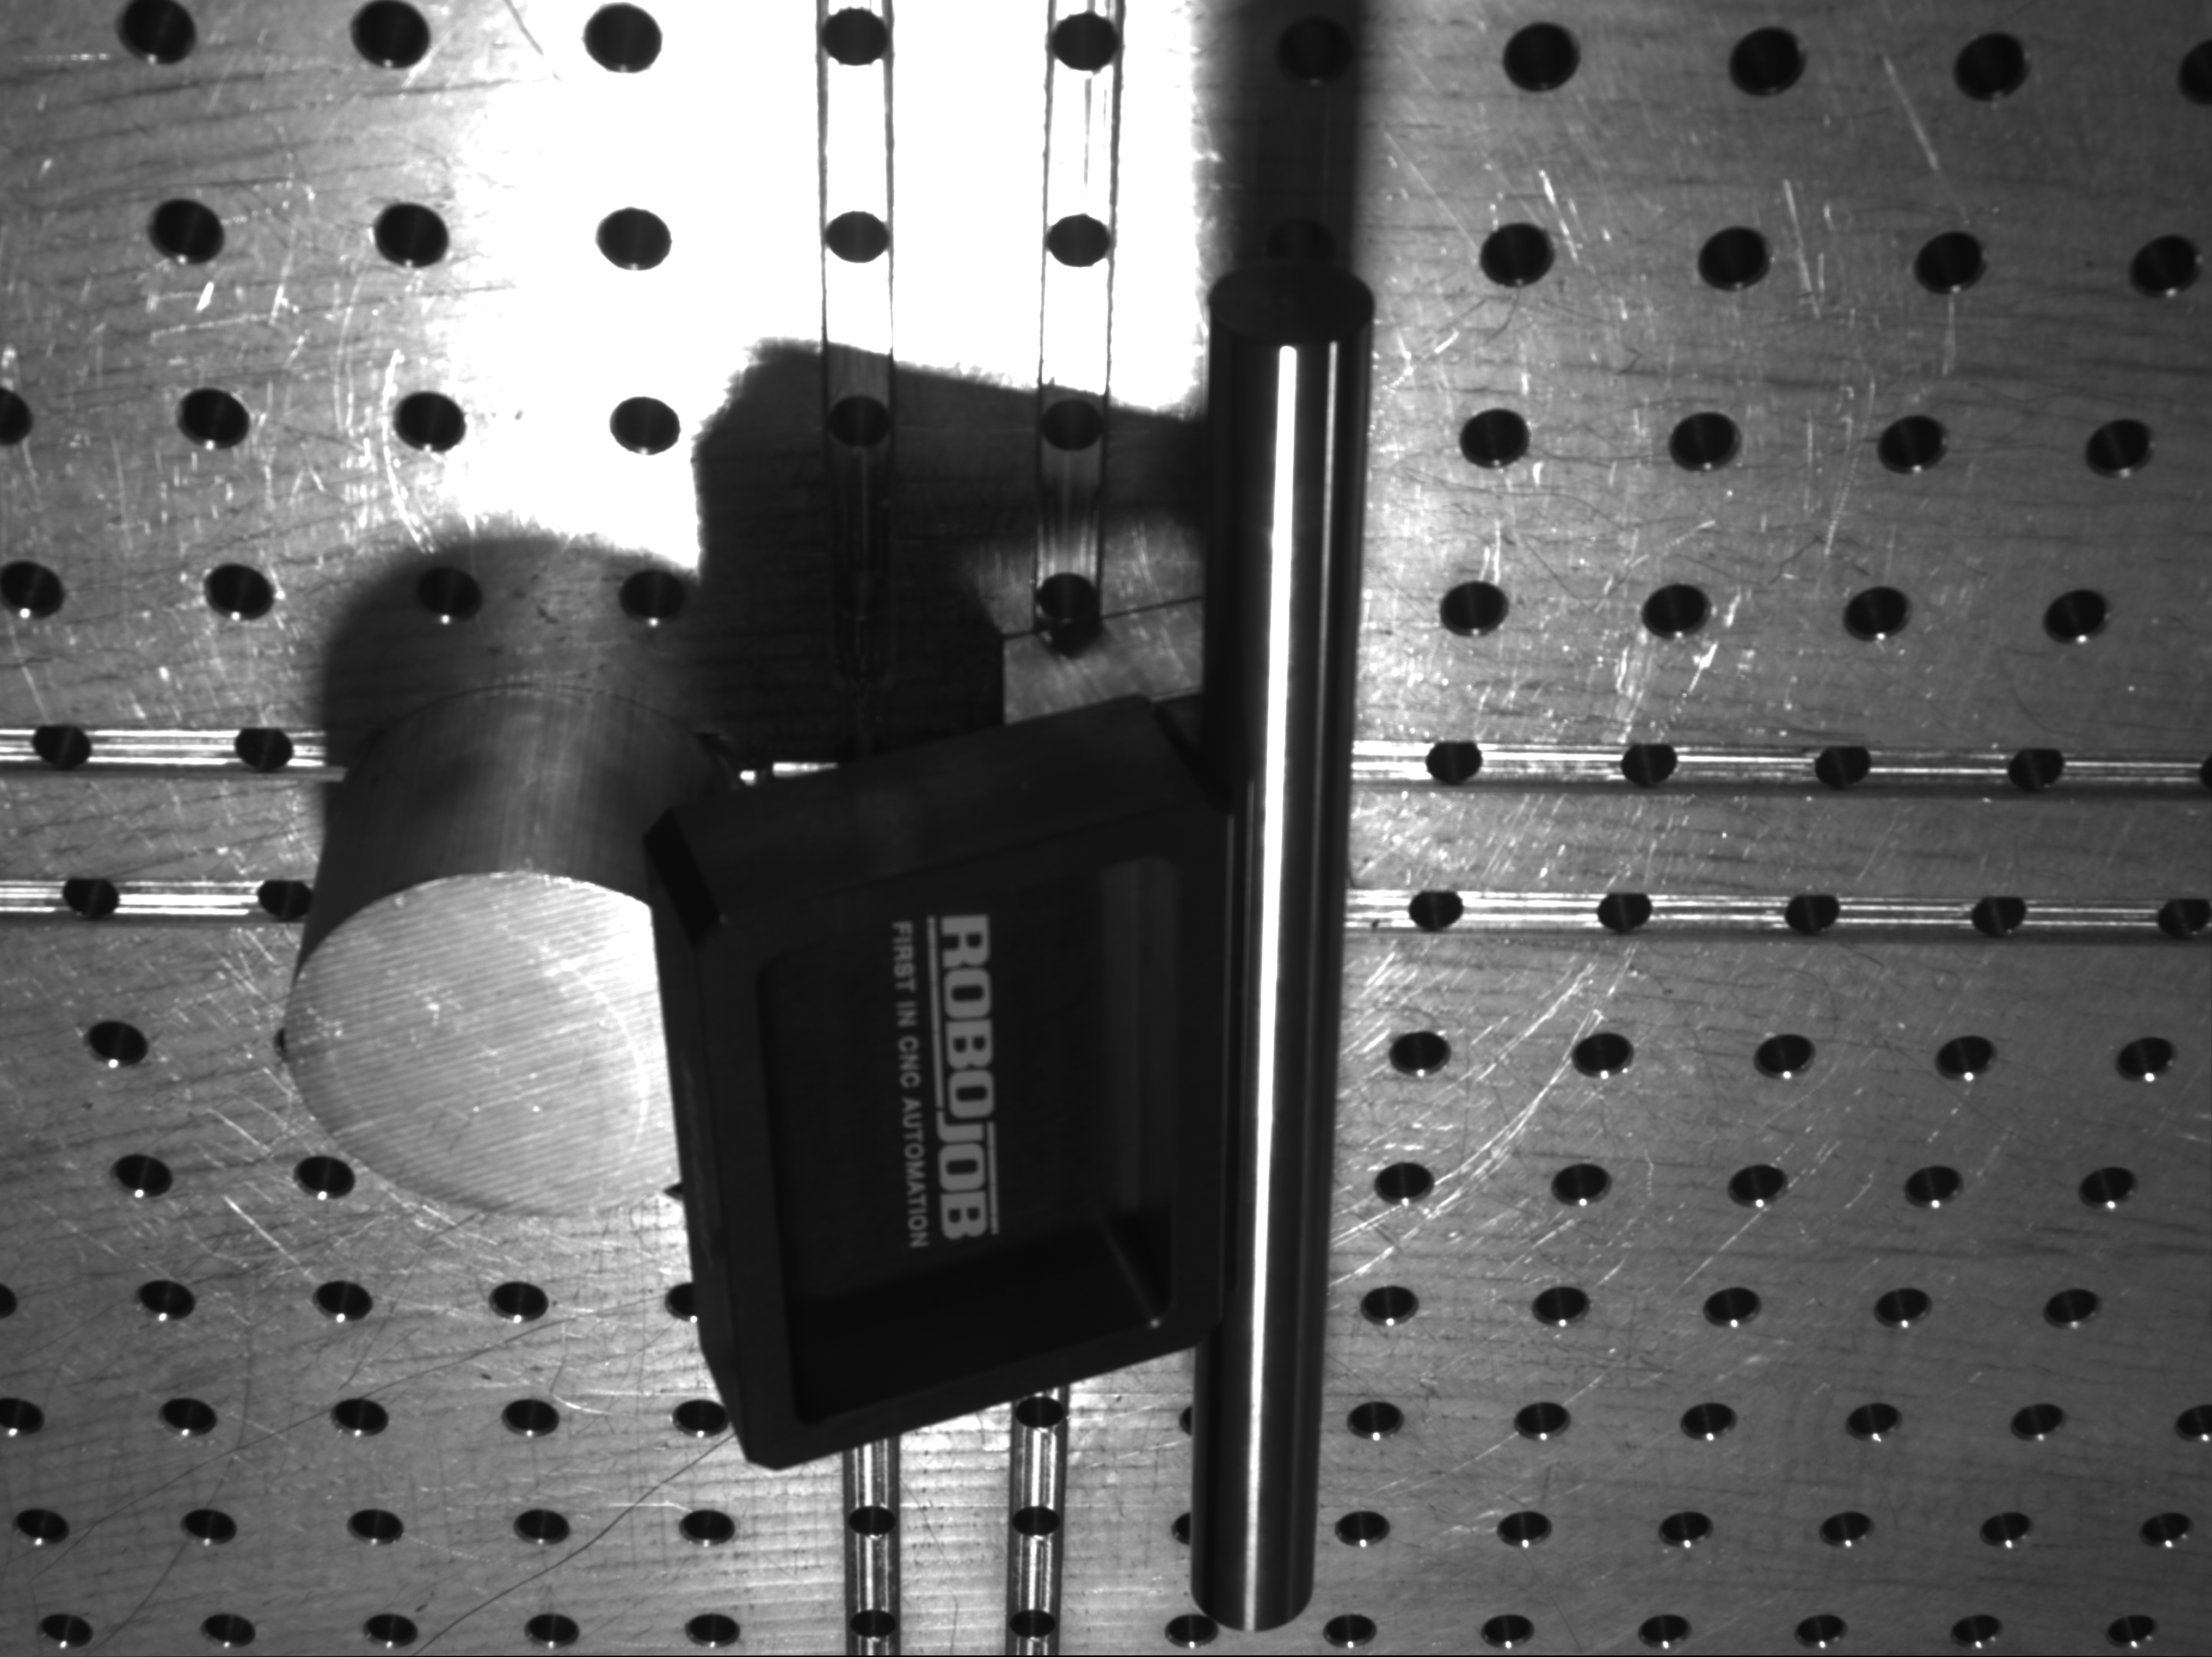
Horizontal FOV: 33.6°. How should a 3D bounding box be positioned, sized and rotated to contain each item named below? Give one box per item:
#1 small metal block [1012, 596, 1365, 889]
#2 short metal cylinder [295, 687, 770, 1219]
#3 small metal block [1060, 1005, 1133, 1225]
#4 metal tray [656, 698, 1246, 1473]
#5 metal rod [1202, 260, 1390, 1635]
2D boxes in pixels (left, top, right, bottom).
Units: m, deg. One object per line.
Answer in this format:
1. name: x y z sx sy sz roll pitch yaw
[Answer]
1. small metal block: 0.014 -0.011 0.633 0.050 0.025 0.050 -12 129 8
2. short metal cylinder: -0.097 0.022 0.639 0.080 0.050 0.080 -1 130 -1
3. small metal block: 0.003 0.058 0.688 0.050 0.025 0.050 32 122 -25
4. metal tray: -0.024 0.046 0.624 0.090 0.030 0.130 -14 132 -16
5. metal rod: 0.031 0.037 0.640 0.025 0.025 0.300 -1 130 -1
